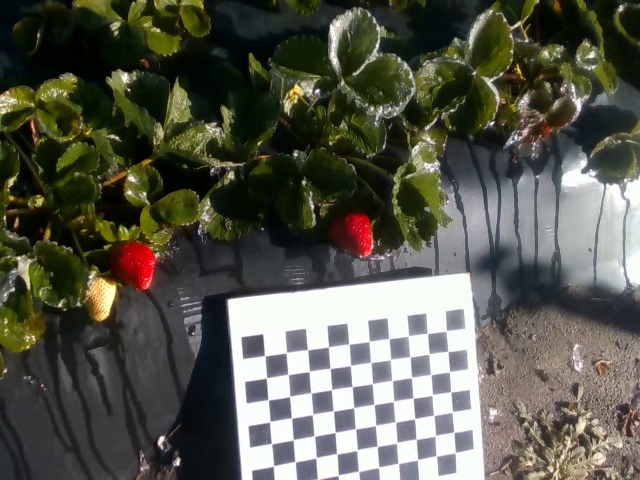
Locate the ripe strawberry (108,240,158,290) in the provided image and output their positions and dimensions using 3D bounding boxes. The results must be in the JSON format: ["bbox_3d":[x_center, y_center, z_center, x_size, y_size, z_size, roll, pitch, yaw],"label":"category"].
[{"bbox_3d":[-0.179,0.032,0.583,0.042,0.061,0.046,-21,-35,-15],"label":"ripe strawberry"}]

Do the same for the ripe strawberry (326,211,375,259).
[{"bbox_3d":[0.040,-0.004,0.641,0.048,0.061,0.044,-13,-28,-16],"label":"ripe strawberry"}]
